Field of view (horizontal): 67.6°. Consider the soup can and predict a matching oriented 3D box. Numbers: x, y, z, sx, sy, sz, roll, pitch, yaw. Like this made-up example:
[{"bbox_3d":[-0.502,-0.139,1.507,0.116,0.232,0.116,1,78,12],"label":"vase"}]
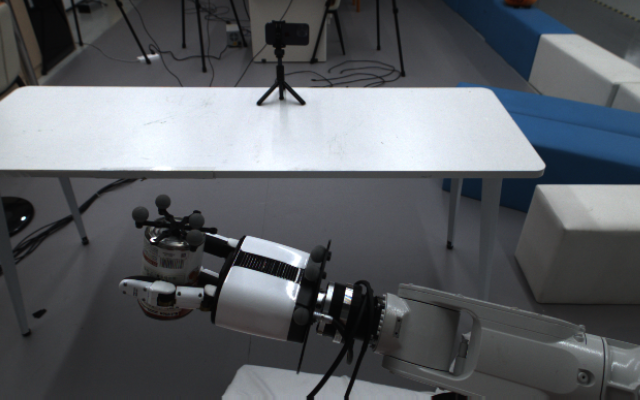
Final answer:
[{"bbox_3d":[-0.171,0.081,0.563,0.067,0.101,0.067,12,24,-6],"label":"soup can"}]
